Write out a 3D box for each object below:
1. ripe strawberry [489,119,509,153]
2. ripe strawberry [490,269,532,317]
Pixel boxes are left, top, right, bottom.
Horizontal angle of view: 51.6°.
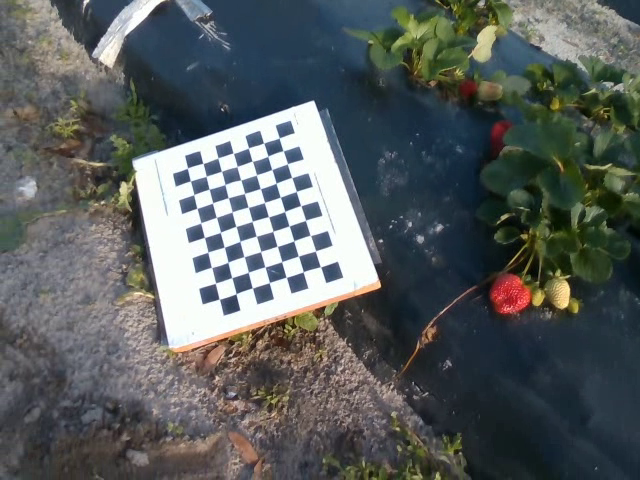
[{"bbox_3d":[0.278,-0.158,0.998,0.058,0.071,0.057,-10,-1,4],"label":"ripe strawberry"},{"bbox_3d":[0.229,0.057,0.797,0.050,0.048,0.035,-35,-26,-14],"label":"ripe strawberry"}]
